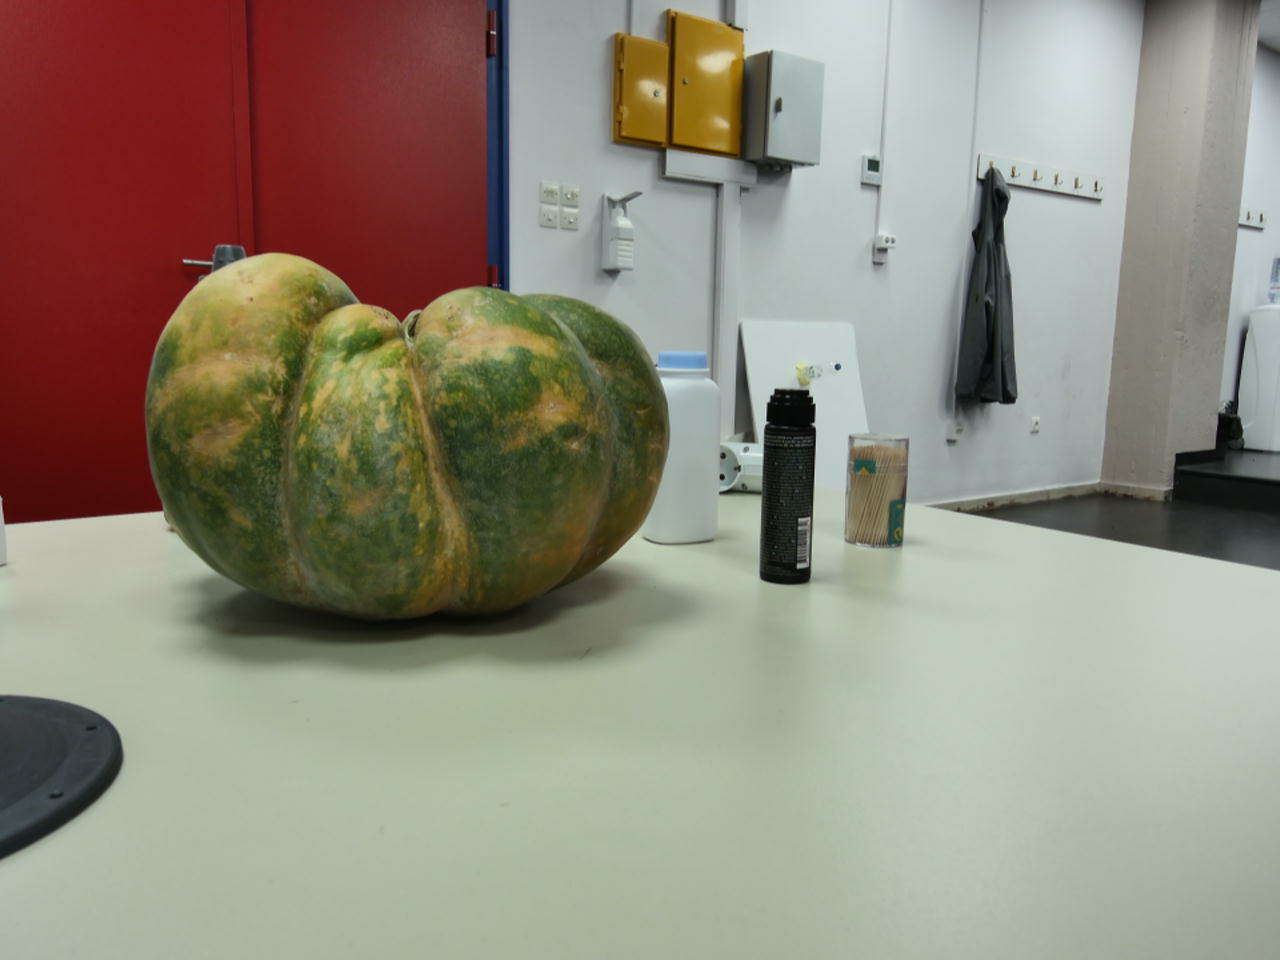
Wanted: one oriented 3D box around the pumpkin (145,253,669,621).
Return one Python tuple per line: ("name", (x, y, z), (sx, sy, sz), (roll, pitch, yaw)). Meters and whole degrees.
("pumpkin", (-0.122, -0.022, 0.516), (0.270, 0.173, 0.237), (0, 7, 0))
